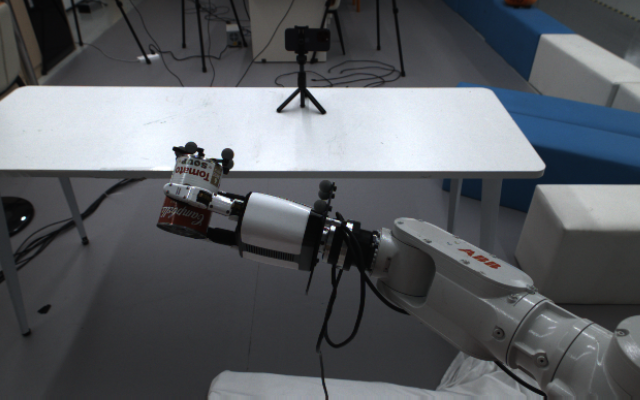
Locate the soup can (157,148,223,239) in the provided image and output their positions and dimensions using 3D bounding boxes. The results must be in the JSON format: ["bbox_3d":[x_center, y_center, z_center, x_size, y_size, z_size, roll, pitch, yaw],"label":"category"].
[{"bbox_3d":[-0.178,-0.002,0.668,0.067,0.067,0.101,8,74,9],"label":"soup can"}]
